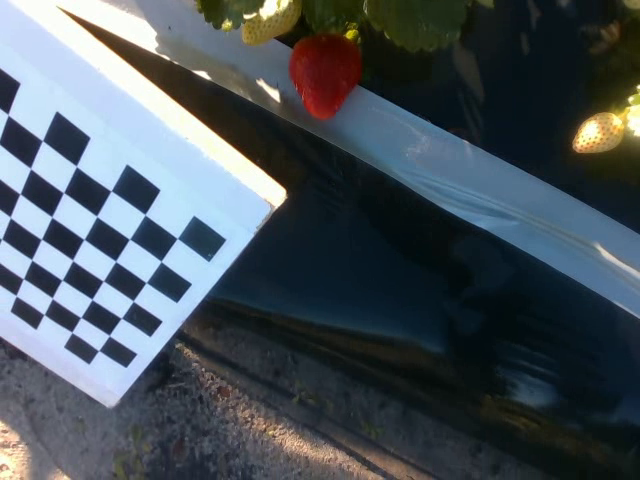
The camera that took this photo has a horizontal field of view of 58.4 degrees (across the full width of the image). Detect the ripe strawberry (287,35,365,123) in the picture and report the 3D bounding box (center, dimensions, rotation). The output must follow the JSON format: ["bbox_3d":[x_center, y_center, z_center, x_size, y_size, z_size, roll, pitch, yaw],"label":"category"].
[{"bbox_3d":[0.002,-0.092,0.323,0.045,0.064,0.048,-18,-37,31],"label":"ripe strawberry"}]
